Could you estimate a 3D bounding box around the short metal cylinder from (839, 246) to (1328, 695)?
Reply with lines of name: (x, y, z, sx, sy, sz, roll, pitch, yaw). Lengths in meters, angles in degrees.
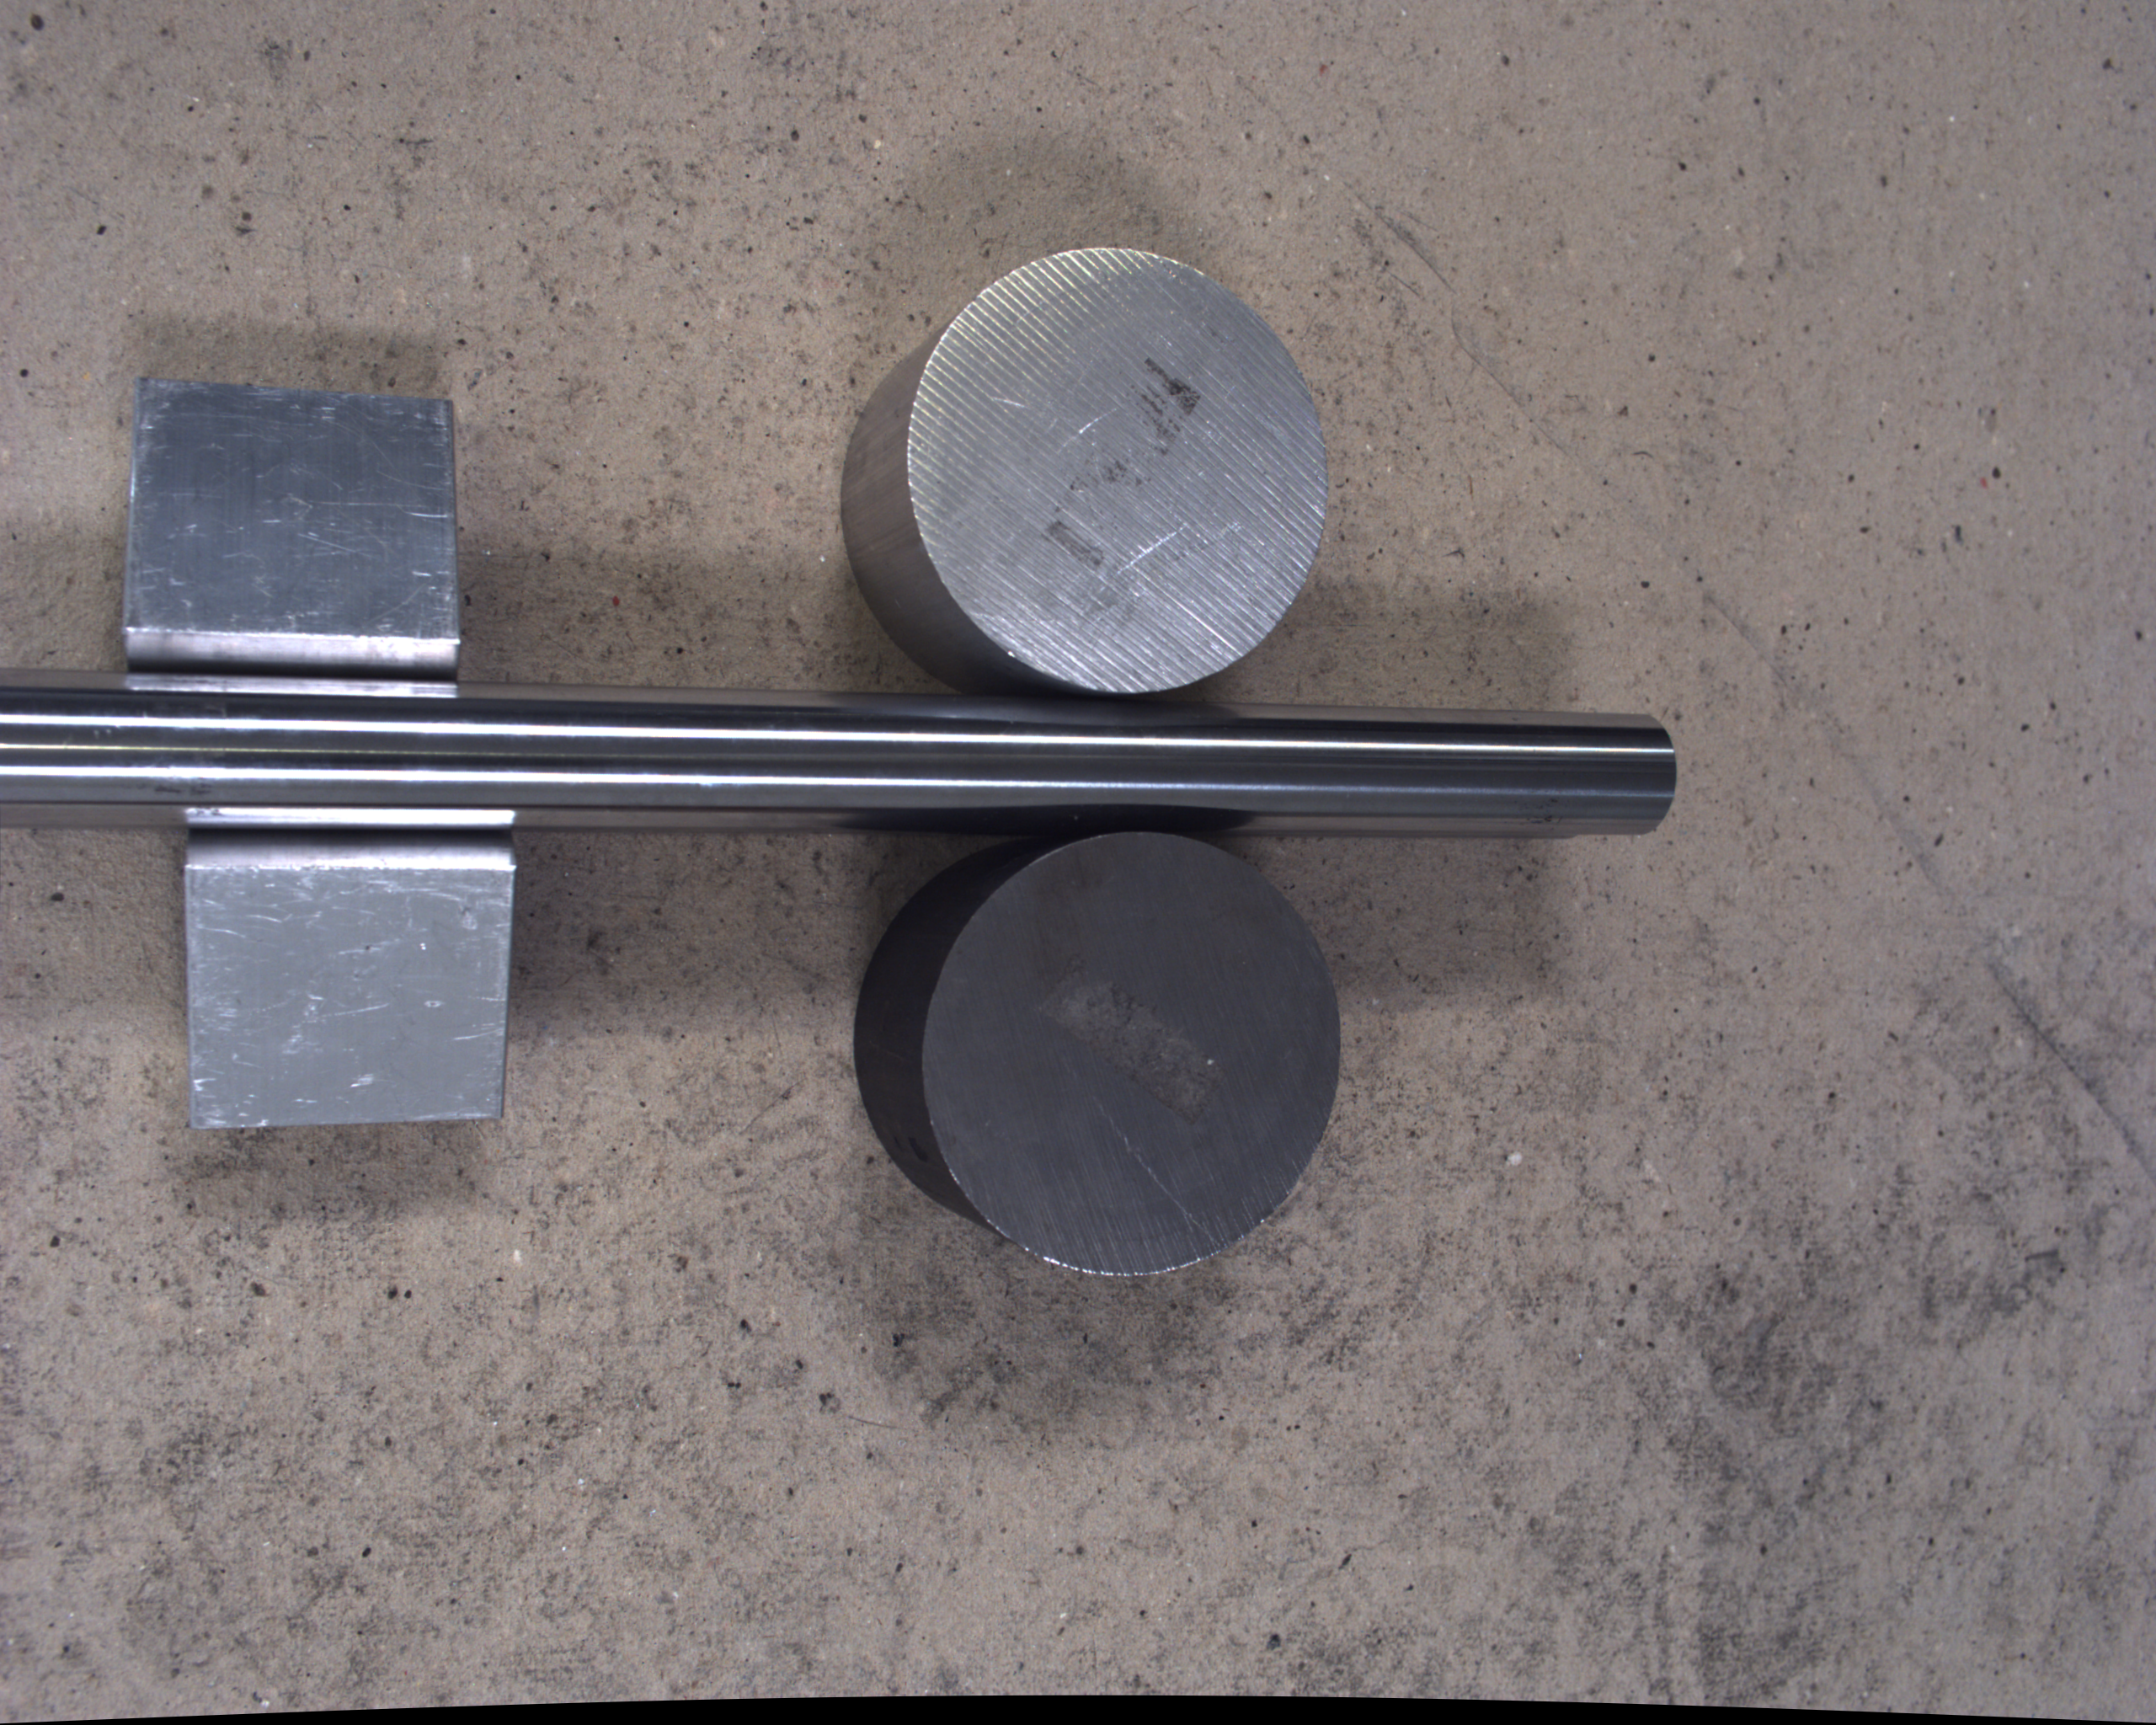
short metal cylinder: (0.000, -0.070, 0.397, 0.081, 0.050, 0.079, 0, 90, -20)

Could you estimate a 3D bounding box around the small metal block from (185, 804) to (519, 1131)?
small metal block: (-0.123, 0.017, 0.354, 0.050, 0.025, 0.050, 0, 117, -21)

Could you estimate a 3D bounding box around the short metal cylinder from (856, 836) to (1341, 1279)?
short metal cylinder: (0.003, 0.035, 0.398, 0.081, 0.050, 0.079, 0, 90, -20)

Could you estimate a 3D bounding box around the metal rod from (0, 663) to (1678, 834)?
metal rod: (-0.027, -0.018, 0.374, 0.303, 0.025, 0.025, 0, 90, -20)

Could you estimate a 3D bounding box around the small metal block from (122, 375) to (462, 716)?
small metal block: (-0.131, -0.052, 0.352, 0.050, 0.025, 0.050, 0, 63, -20)

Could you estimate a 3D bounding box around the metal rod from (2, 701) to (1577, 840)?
metal rod: (-0.037, -0.018, 0.397, 0.303, 0.025, 0.025, 0, 90, -20)
